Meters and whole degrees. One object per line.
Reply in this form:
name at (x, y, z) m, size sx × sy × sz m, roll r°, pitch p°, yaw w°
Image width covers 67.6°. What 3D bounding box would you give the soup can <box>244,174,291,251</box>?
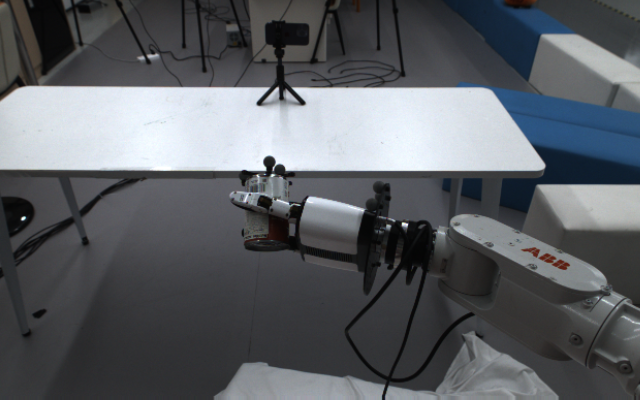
soup can at (-0.077, 0.020, 0.710) m, size 0.067 × 0.067 × 0.101 m, roll -1°, pitch 71°, yaw -5°
